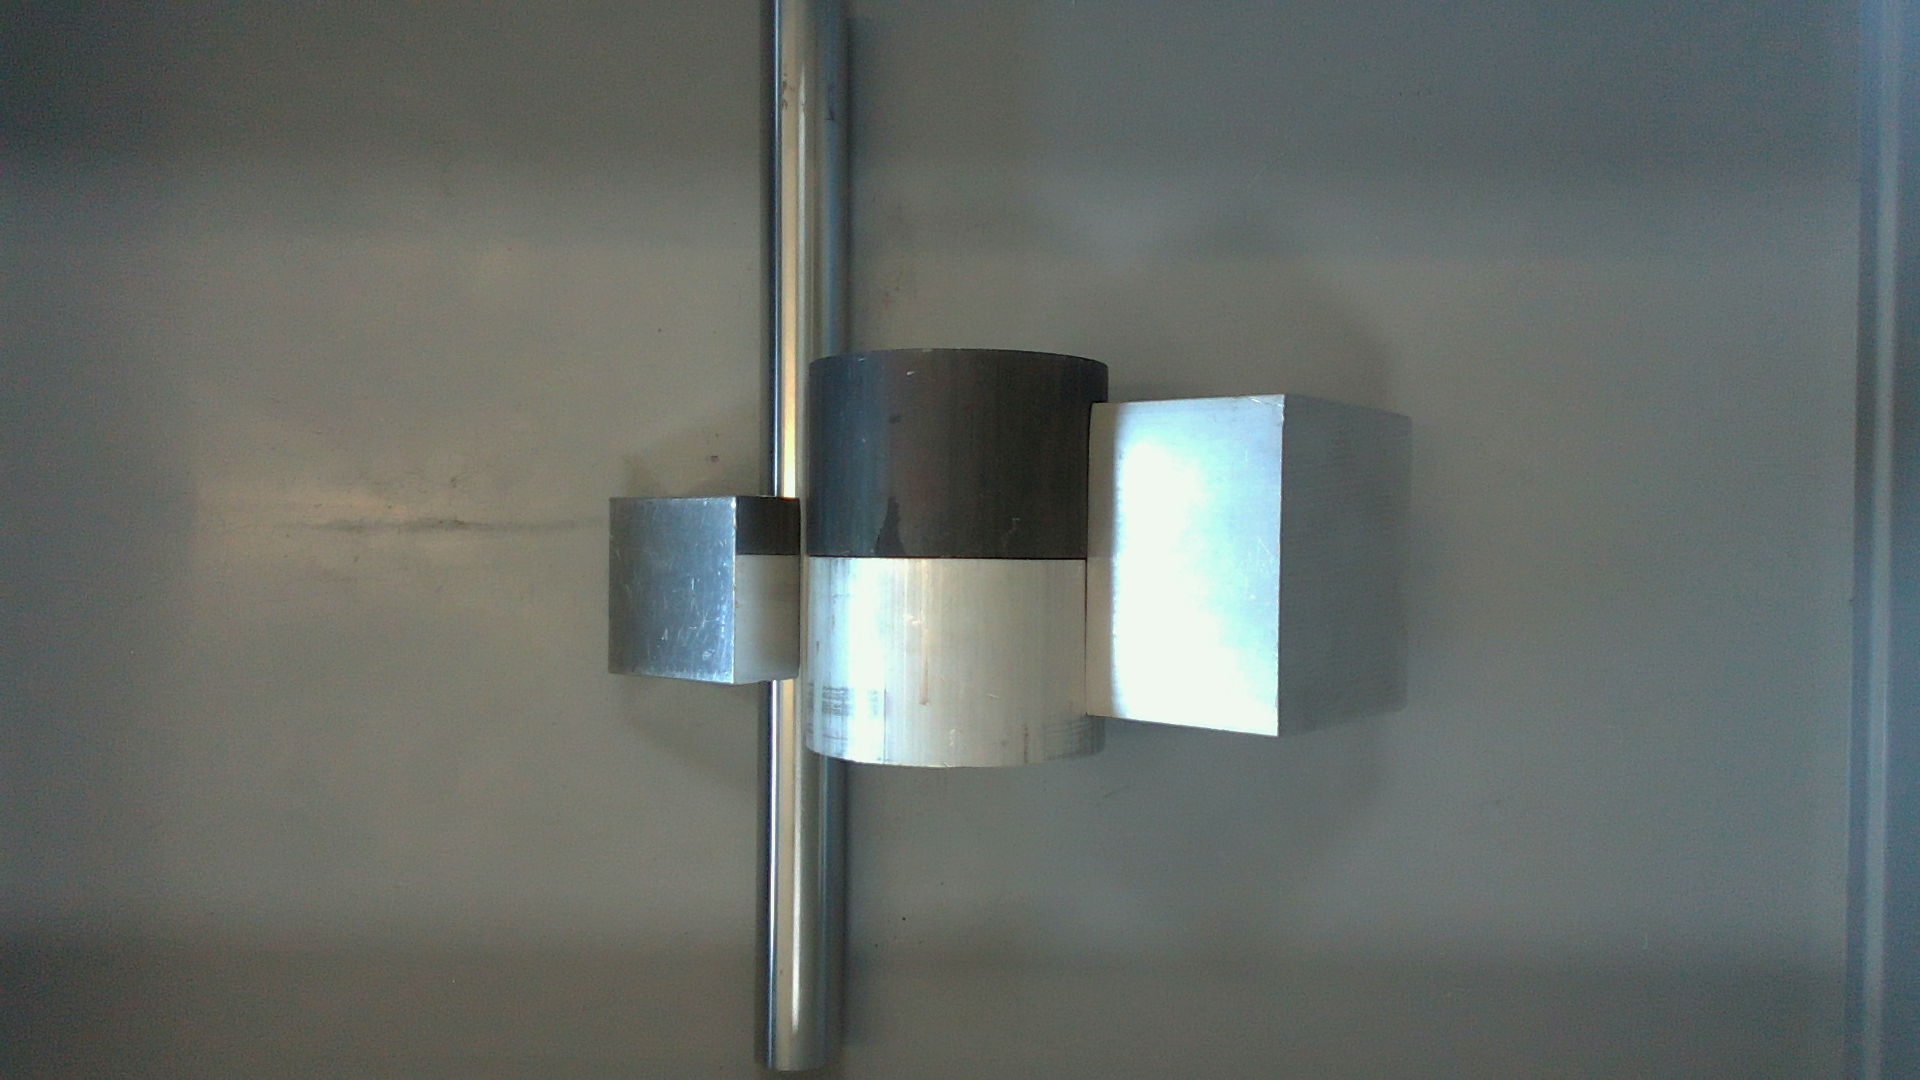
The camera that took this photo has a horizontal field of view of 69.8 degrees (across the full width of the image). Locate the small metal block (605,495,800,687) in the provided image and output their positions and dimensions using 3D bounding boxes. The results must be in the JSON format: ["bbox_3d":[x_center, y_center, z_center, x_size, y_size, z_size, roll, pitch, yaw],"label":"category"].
[{"bbox_3d":[-0.072,0.013,0.383,0.050,0.025,0.050,0,89,35],"label":"small metal block"}]

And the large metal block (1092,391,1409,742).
[{"bbox_3d":[0.078,0.006,0.360,0.050,0.080,0.080,1,91,38],"label":"large metal block"}]

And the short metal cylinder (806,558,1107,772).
[{"bbox_3d":[-0.001,0.030,0.366,0.080,0.080,0.050,0,90,0],"label":"short metal cylinder"}]

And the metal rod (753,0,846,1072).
[{"bbox_3d":[-0.046,-0.003,0.393,0.025,0.025,0.300,0,90,0],"label":"metal rod"}]

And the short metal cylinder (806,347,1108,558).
[{"bbox_3d":[0.000,-0.021,0.366,0.080,0.080,0.050,0,90,0],"label":"short metal cylinder"}]
